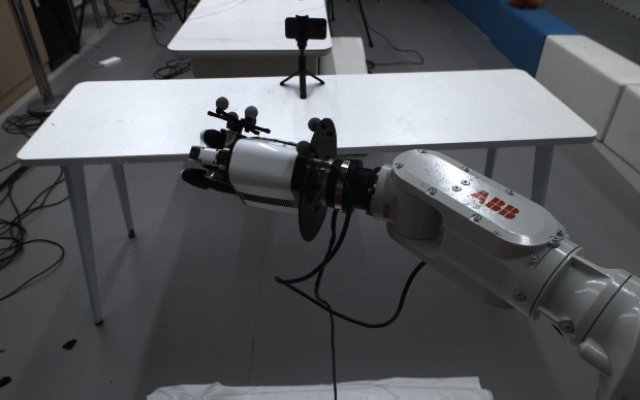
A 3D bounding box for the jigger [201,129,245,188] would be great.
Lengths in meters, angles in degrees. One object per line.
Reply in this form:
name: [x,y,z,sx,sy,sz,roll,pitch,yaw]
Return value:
jigger: [-0.124,-0.057,0.648,0.043,0.071,0.043,18,-6,2]
